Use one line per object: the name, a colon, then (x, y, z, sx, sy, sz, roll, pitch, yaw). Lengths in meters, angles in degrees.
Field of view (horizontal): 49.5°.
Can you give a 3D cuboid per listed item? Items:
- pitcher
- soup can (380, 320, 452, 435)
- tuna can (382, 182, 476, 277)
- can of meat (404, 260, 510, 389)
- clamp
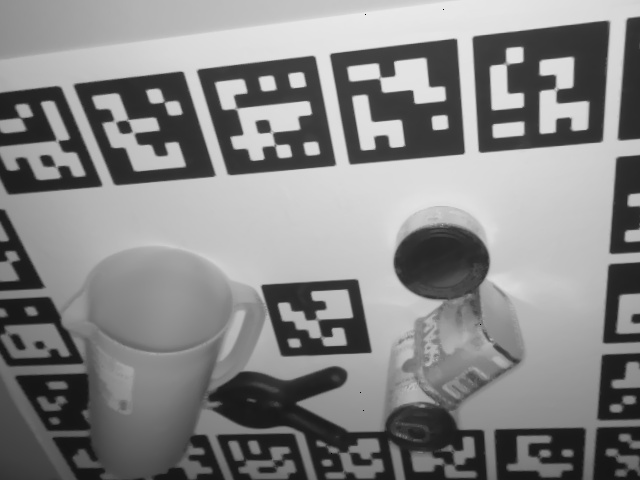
pitcher: (-0.179, 0.121, 0.705, 0.191, 0.134, 0.239, 1, 132, -18)
soup can: (0.095, 0.135, 0.699, 0.068, 0.103, 0.067, 2, 120, 5)
tuna can: (0.102, -0.010, 0.647, 0.085, 0.034, 0.085, 3, 120, 6)
can of meat: (0.129, 0.076, 0.653, 0.058, 0.103, 0.083, 43, 114, -16)
clamp: (-0.042, 0.174, 0.791, 0.164, 0.037, 0.121, -1, 125, 13)
